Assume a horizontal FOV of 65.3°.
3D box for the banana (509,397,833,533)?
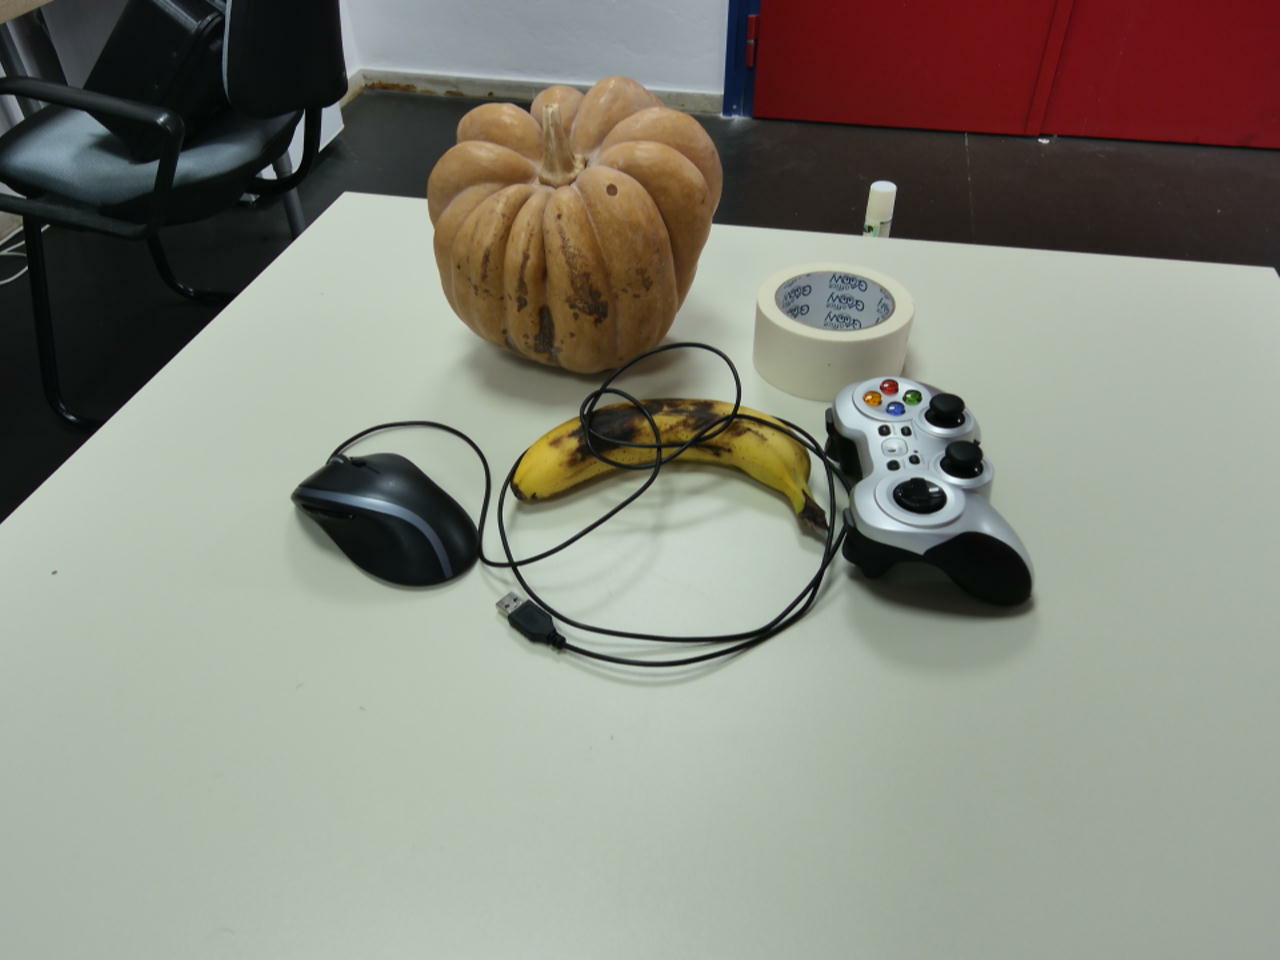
[{"bbox_3d":[0.022,-0.015,0.601,0.187,0.039,0.094,7,40,8],"label":"banana"}]
